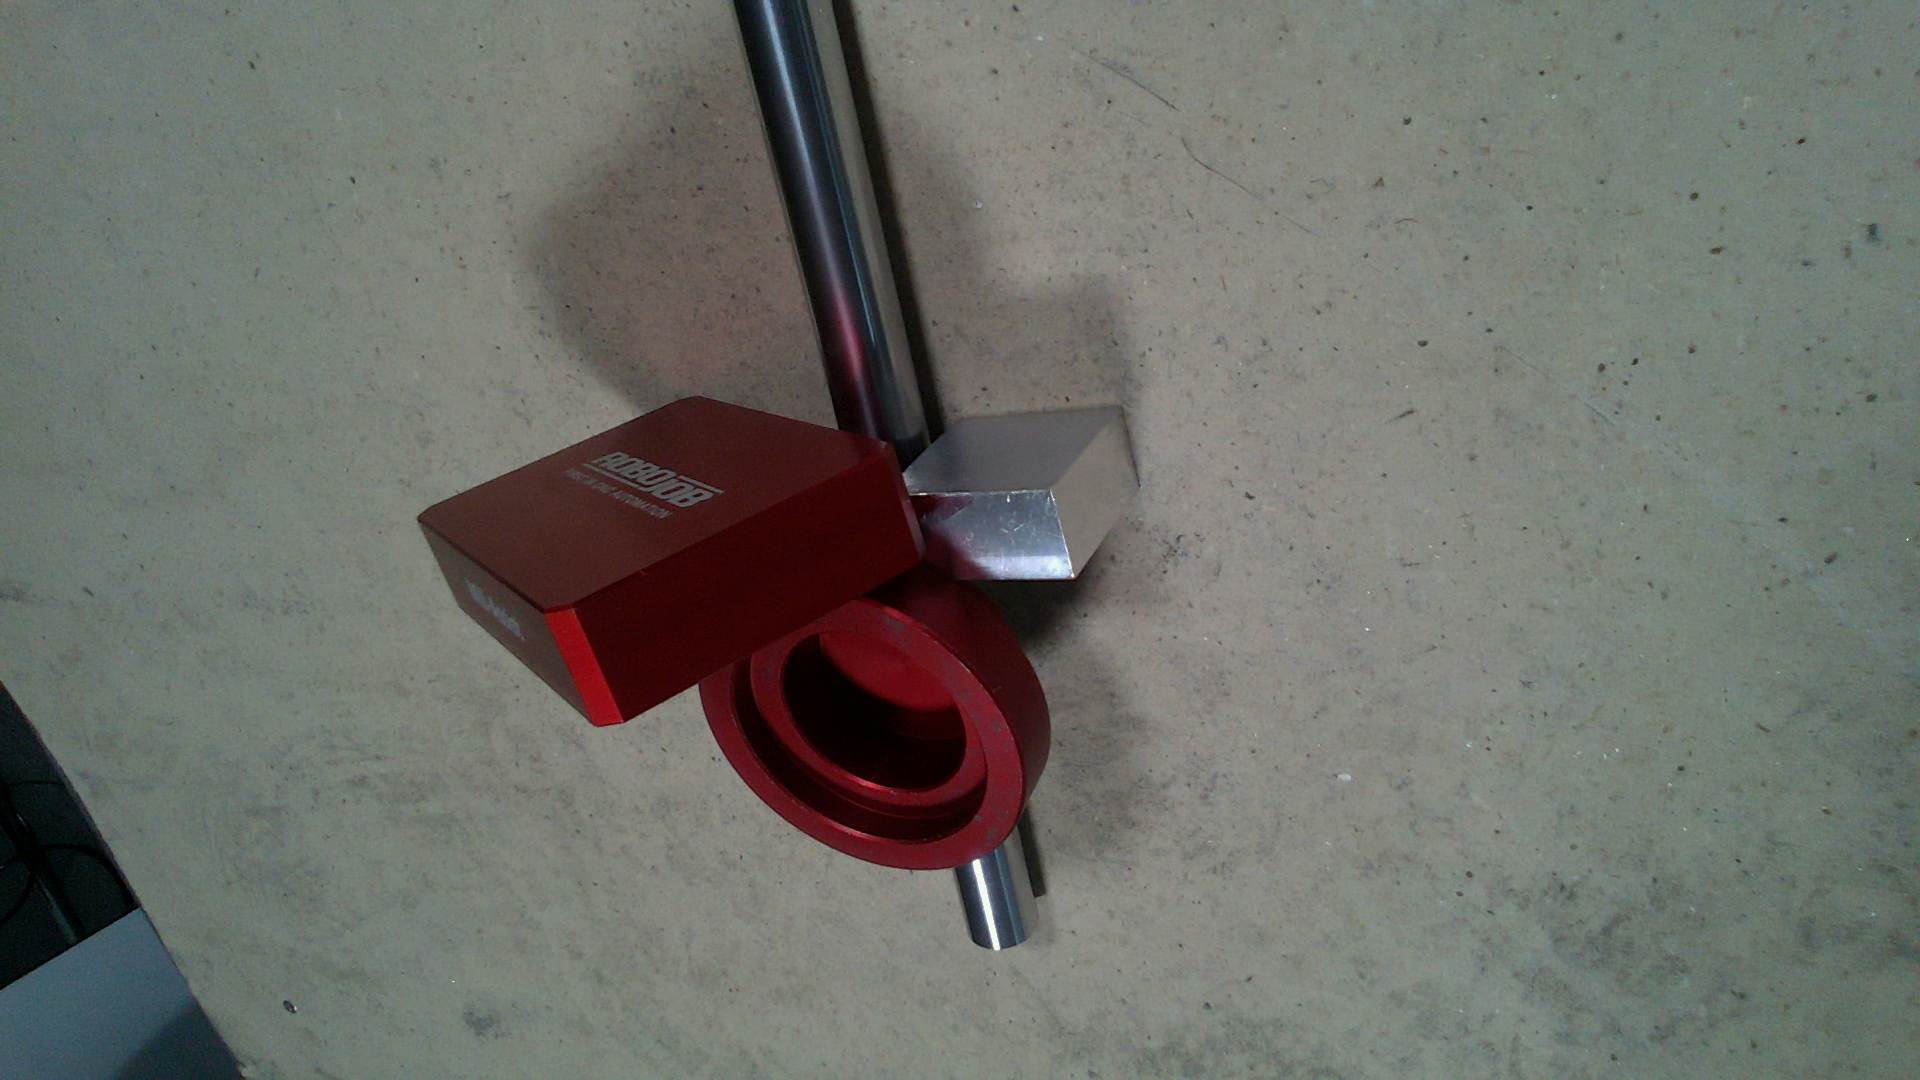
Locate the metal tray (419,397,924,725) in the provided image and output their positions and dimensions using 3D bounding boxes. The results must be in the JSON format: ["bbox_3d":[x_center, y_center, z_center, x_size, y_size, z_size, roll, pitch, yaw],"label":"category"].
[{"bbox_3d":[-0.081,-0.002,0.363,0.130,0.090,0.030,18,131,55],"label":"metal tray"}]

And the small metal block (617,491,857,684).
[{"bbox_3d":[-0.068,0.015,0.422,0.050,0.050,0.025,-21,107,36],"label":"small metal block"}]

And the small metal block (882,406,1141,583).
[{"bbox_3d":[0.014,-0.012,0.362,0.050,0.050,0.025,-2,118,29],"label":"small metal block"}]

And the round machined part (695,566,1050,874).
[{"bbox_3d":[-0.021,0.042,0.384,0.098,0.042,0.098,13,127,18],"label":"round machined part"}]

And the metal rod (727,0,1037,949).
[{"bbox_3d":[-0.015,-0.002,0.400,0.025,0.025,0.300,2,120,27],"label":"metal rod"}]
